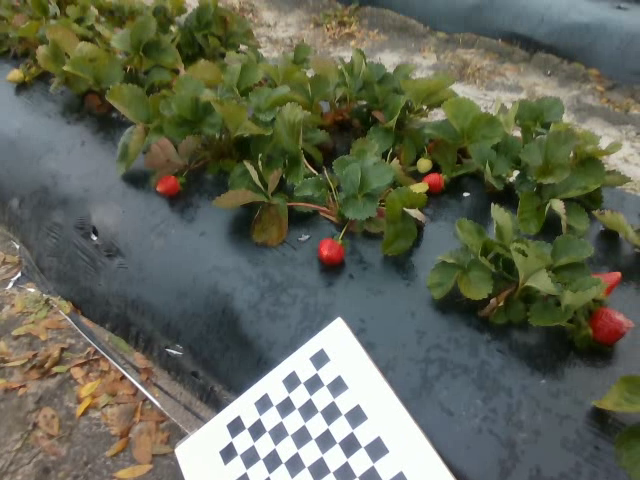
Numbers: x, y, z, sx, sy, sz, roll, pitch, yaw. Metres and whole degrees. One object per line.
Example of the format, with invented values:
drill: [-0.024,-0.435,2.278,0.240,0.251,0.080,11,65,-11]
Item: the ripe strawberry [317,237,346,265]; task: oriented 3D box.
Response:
ripe strawberry: [0.014,0.020,0.963,0.045,0.048,0.053,-8,11,26]
